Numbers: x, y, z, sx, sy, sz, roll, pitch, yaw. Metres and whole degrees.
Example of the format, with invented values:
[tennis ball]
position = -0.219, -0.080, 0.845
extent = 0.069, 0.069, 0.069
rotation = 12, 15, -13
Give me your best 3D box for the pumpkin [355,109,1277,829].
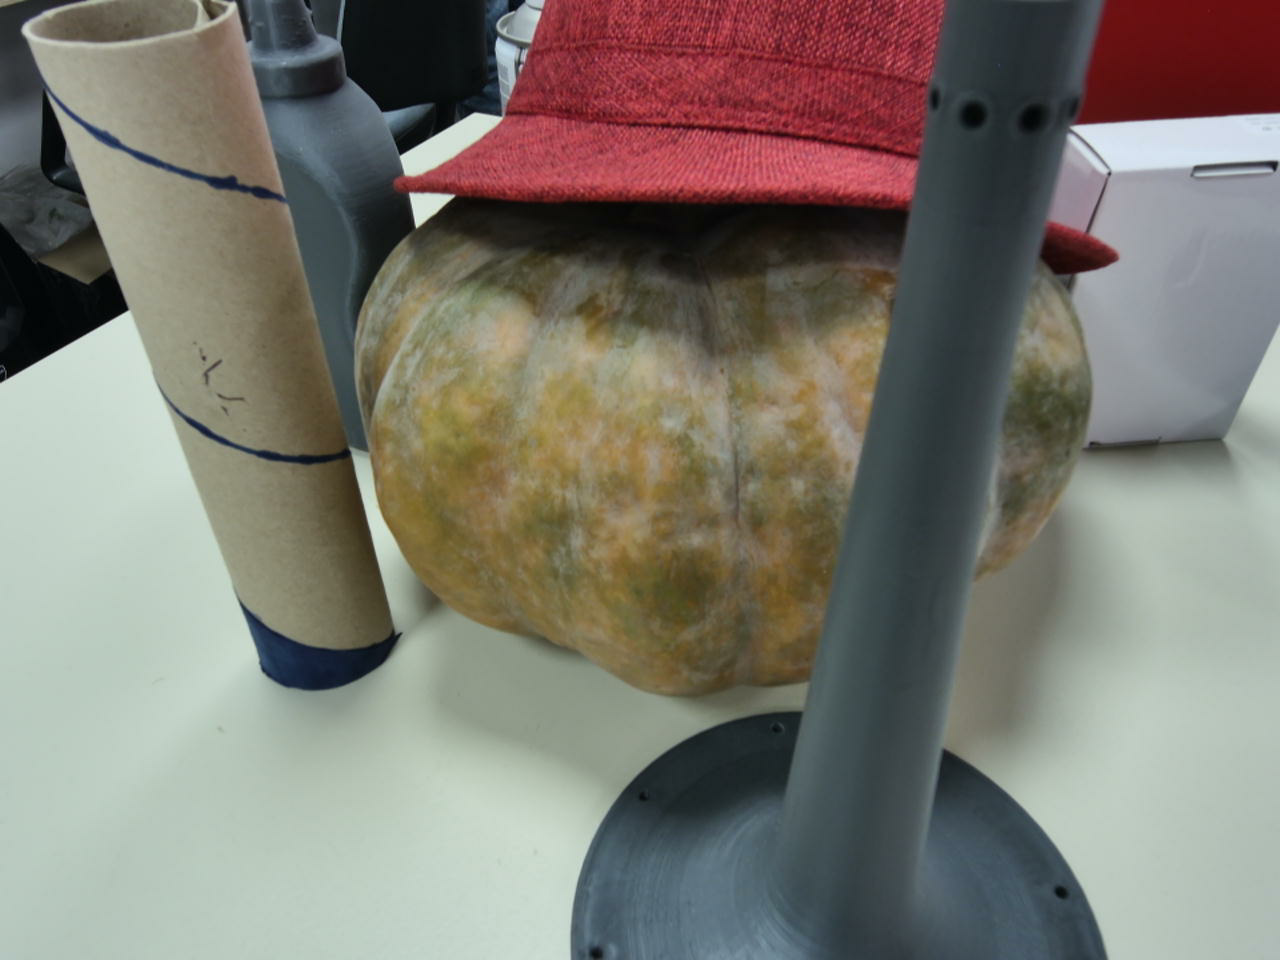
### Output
[pumpkin]
position = 0.020, -0.037, 0.363
extent = 0.252, 0.169, 0.251
rotation = 0, 38, 0
